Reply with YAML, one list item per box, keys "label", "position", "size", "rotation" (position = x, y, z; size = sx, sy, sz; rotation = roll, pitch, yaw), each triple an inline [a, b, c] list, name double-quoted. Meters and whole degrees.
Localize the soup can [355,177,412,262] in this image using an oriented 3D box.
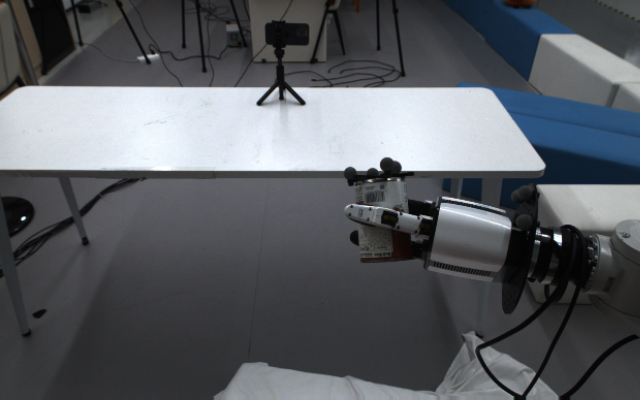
- label: "soup can"
  position: [0.082, 0.026, 0.616]
  size: [0.067, 0.101, 0.067]
  rotation: [-5, -5, 0]
